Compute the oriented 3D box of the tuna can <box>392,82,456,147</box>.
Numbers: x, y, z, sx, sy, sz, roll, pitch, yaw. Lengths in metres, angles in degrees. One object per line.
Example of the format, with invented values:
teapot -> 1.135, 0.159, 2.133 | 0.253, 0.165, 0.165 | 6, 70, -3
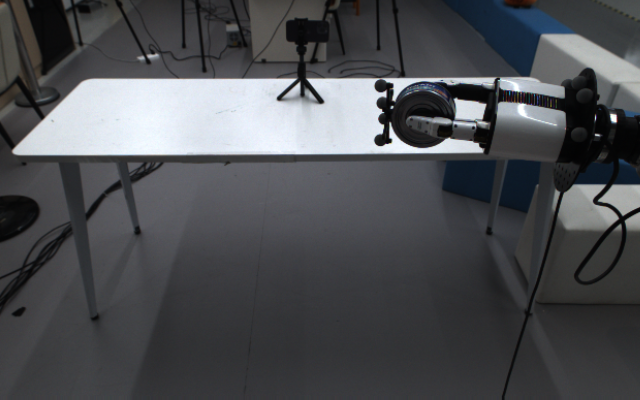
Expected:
tuna can -> 0.144, -0.126, 0.660 | 0.085, 0.085, 0.034 | 9, 32, 10
